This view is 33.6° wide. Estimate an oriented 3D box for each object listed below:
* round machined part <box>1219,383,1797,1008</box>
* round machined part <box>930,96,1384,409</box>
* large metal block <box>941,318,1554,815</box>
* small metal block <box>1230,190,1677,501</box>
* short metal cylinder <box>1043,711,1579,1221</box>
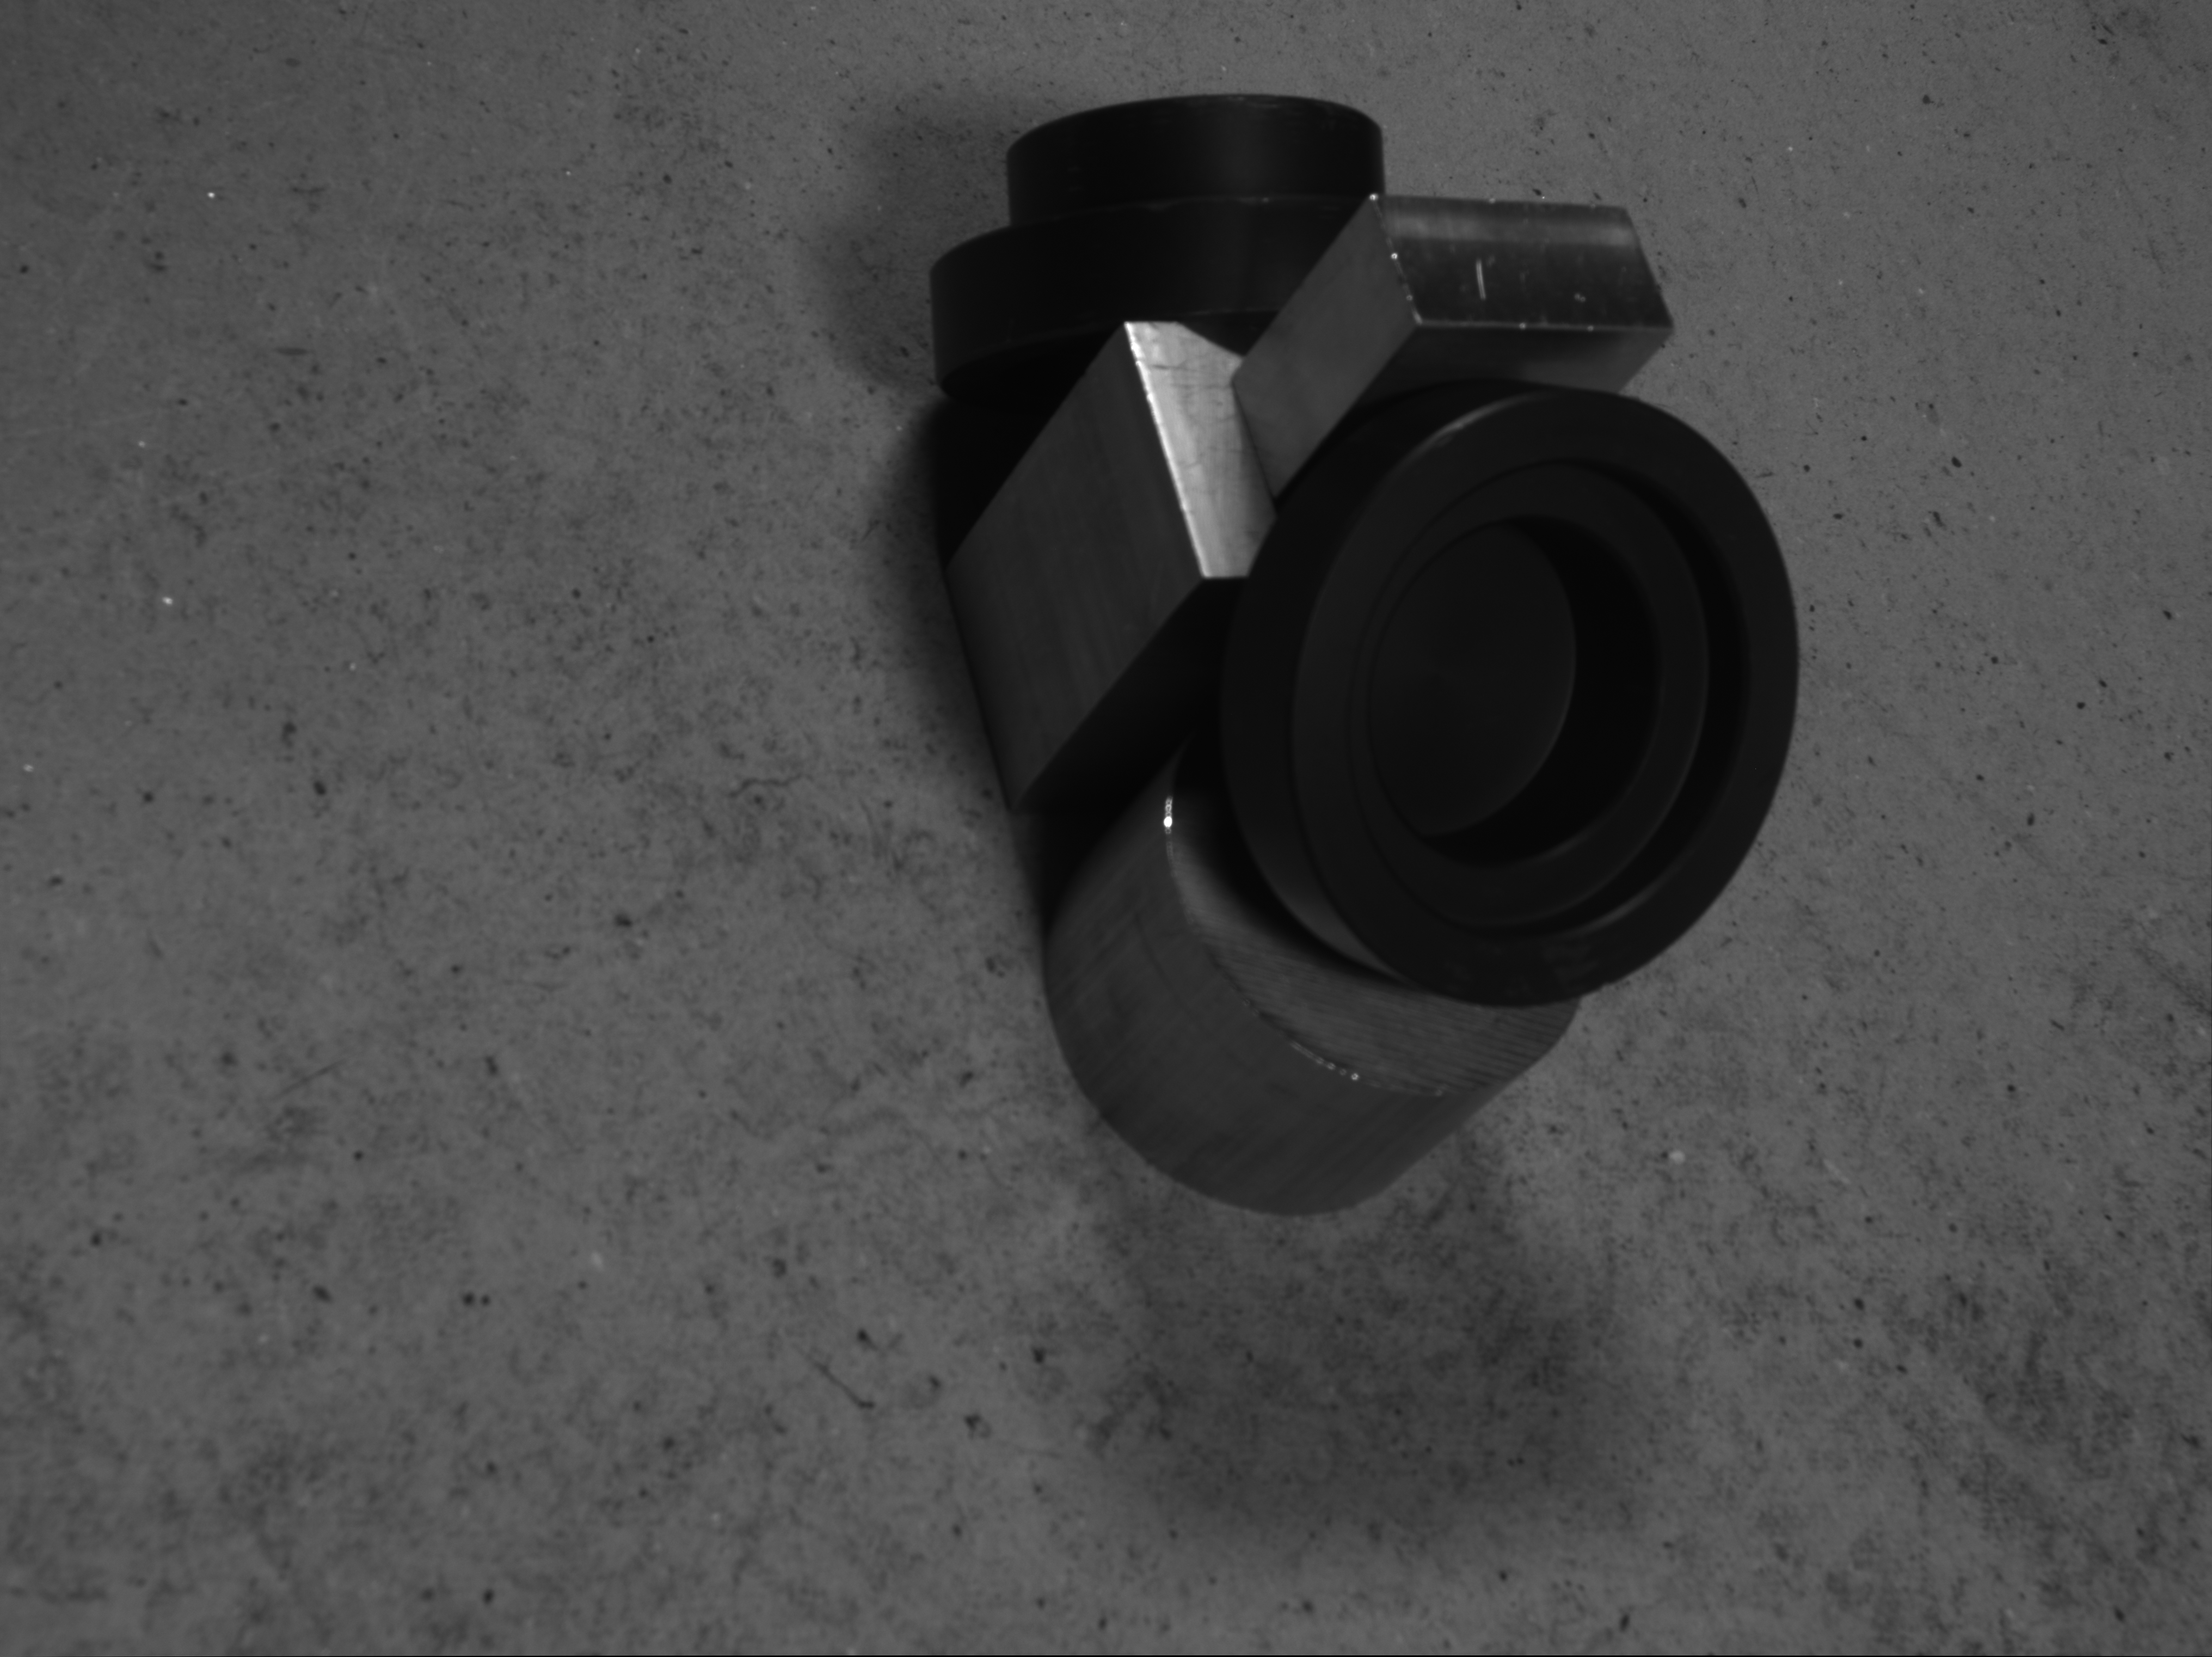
[{"bbox_3d":[0.060,-0.023,0.591,0.098,0.042,0.098,-6,103,-28],"label":"round machined part"},{"bbox_3d":[0.017,-0.103,0.660,0.098,0.098,0.042,-2,88,-29],"label":"round machined part"},{"bbox_3d":[0.028,-0.045,0.646,0.080,0.080,0.050,-2,62,-29],"label":"large metal block"},{"bbox_3d":[0.056,-0.078,0.598,0.050,0.050,0.025,-3,62,-29],"label":"small metal block"},{"bbox_3d":[0.036,0.021,0.632,0.080,0.050,0.080,14,56,-21],"label":"short metal cylinder"}]
